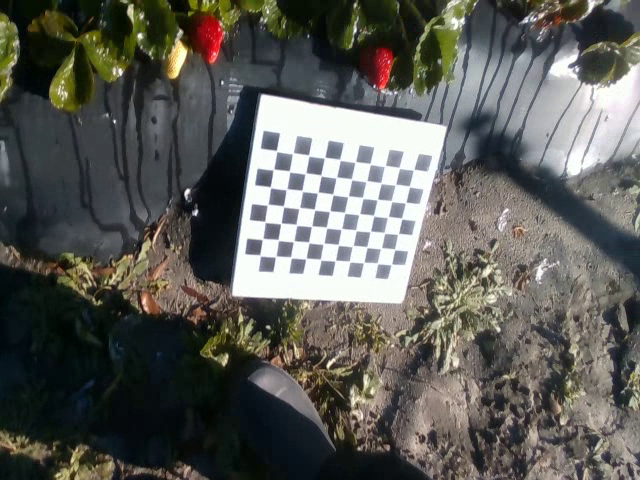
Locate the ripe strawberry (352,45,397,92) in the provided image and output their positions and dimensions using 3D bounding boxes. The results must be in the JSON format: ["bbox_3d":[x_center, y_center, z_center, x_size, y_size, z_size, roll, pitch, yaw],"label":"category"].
[{"bbox_3d":[0.089,-0.217,0.972,0.048,0.061,0.044,-3,-10,-26],"label":"ripe strawberry"}]

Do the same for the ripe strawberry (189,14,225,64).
[{"bbox_3d":[-0.117,-0.221,0.873,0.042,0.061,0.046,-11,-17,-23],"label":"ripe strawberry"}]
